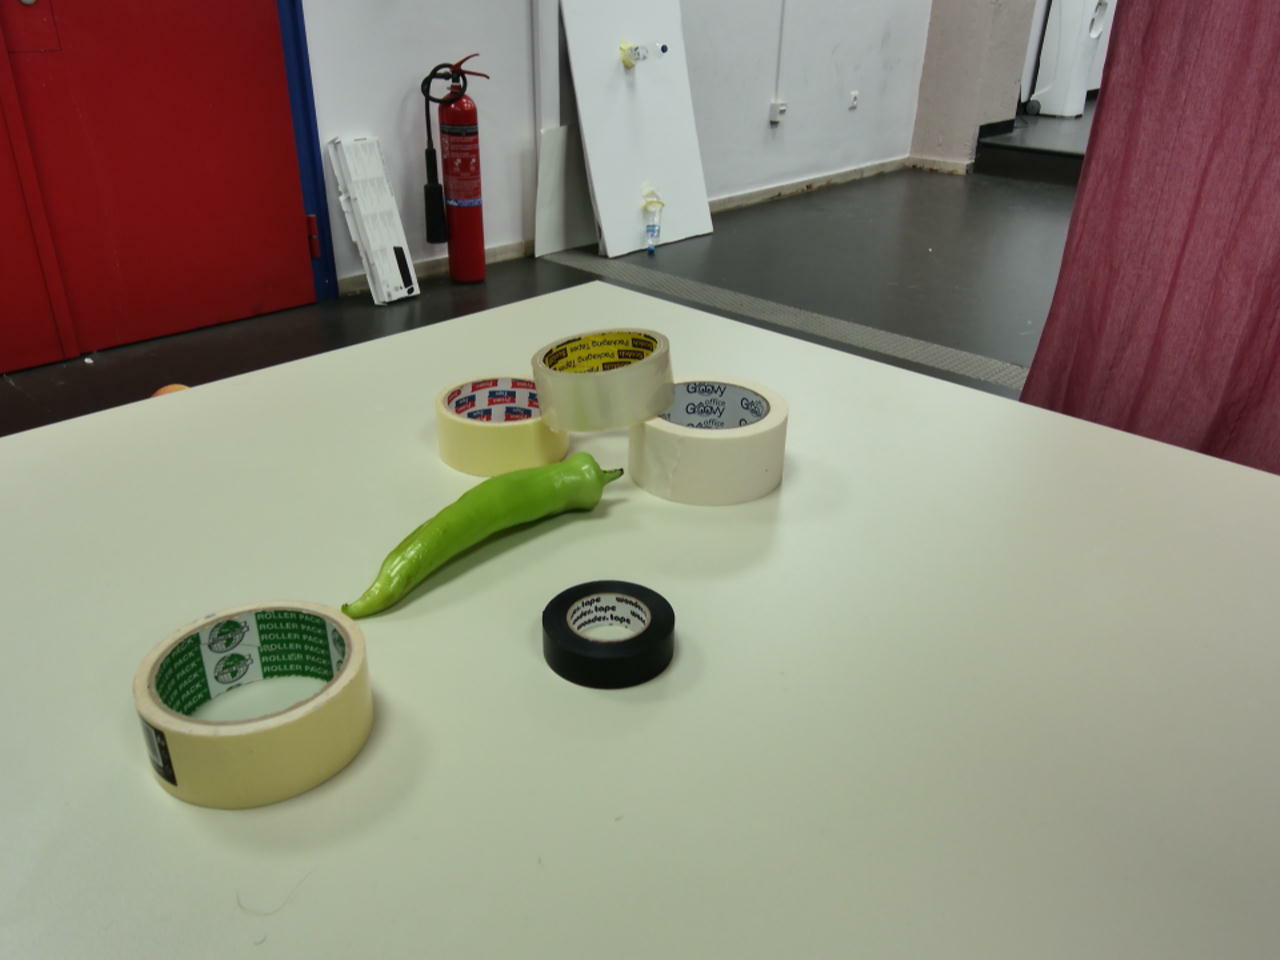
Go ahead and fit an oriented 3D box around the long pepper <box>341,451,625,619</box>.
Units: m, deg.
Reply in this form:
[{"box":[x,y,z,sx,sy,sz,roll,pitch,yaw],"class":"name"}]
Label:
[{"box":[-0.090,0.022,0.572,0.047,0.038,0.197,23,33,39],"class":"long pepper"}]
